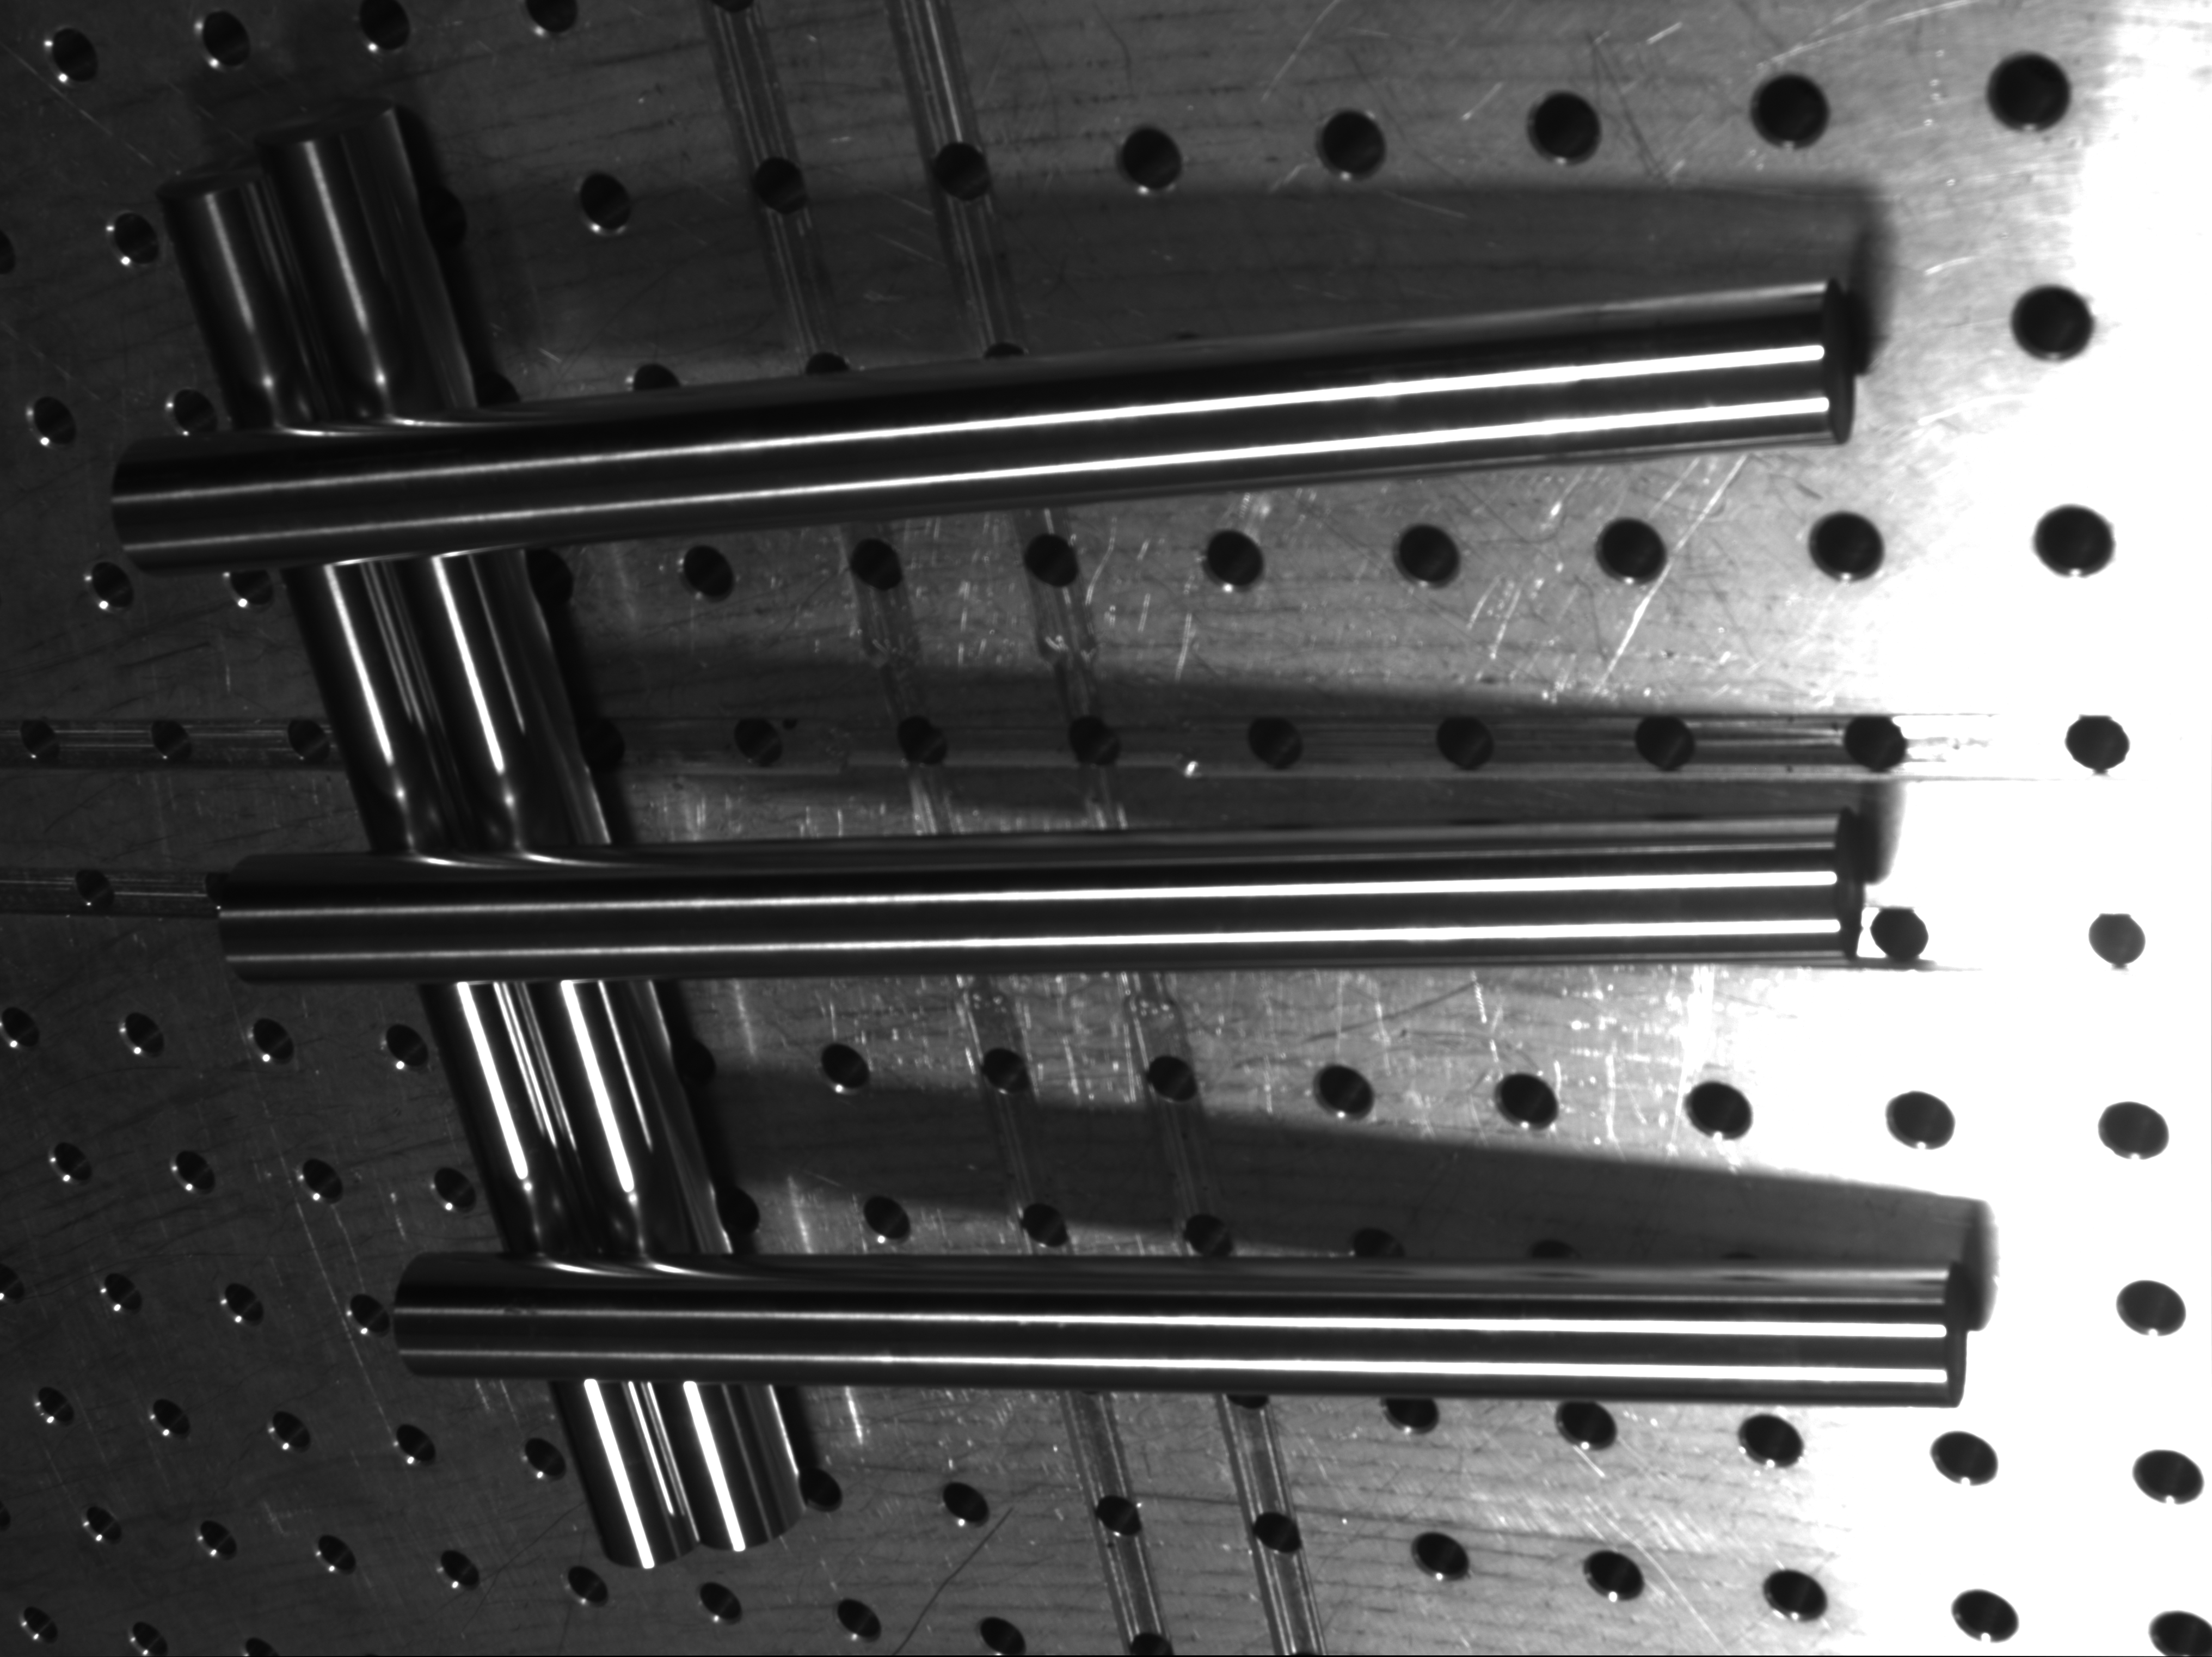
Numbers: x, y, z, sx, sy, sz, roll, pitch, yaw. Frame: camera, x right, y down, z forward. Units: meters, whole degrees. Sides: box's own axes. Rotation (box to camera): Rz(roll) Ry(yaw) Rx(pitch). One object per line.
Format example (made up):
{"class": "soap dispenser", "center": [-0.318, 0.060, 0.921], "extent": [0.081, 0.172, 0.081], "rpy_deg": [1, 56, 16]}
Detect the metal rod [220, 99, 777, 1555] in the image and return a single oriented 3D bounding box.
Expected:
{"class": "metal rod", "center": [-0.110, 0.011, 0.695], "extent": [0.025, 0.025, 0.300], "rpy_deg": [1, 119, 26]}

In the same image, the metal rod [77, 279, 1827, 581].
{"class": "metal rod", "center": [-0.035, -0.063, 0.596], "extent": [0.299, 0.025, 0.025], "rpy_deg": [-3, 117, 21]}

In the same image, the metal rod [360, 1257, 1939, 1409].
{"class": "metal rod", "center": [-0.001, 0.091, 0.671], "extent": [0.299, 0.025, 0.025], "rpy_deg": [-2, 117, 21]}

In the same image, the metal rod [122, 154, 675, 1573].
{"class": "metal rod", "center": [-0.131, 0.017, 0.709], "extent": [0.025, 0.025, 0.300], "rpy_deg": [1, 119, 26]}

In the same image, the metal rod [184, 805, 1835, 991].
{"class": "metal rod", "center": [-0.026, 0.013, 0.636], "extent": [0.299, 0.025, 0.025], "rpy_deg": [-2, 117, 21]}
